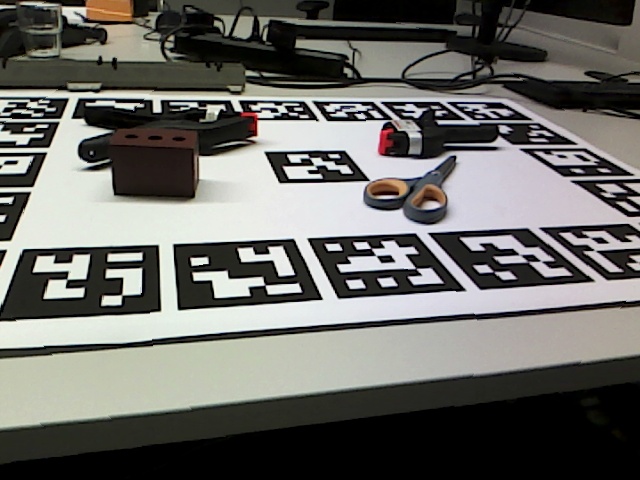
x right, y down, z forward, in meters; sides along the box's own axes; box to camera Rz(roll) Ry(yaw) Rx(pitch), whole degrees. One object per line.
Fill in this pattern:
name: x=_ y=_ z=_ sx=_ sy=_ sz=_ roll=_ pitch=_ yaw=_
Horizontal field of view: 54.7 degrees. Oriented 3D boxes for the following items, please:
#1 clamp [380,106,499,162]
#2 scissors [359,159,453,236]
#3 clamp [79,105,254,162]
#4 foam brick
clamp: x=0.140 y=-0.135 z=0.806 sx=0.164 sy=0.036 sz=0.123 roll=-20 pitch=44 yaw=-36
scissors: x=0.111 y=-0.059 z=0.669 sx=0.088 sy=0.016 sz=0.202 roll=24 pitch=32 yaw=17
clamp: x=-0.178 y=-0.131 z=0.738 sx=0.202 sy=0.036 sz=0.166 roll=-3 pitch=27 yaw=-17
foam brick: x=-0.165 y=-0.068 z=0.616 sx=0.078 sy=0.051 sz=0.053 roll=-2 pitch=31 yaw=-4
